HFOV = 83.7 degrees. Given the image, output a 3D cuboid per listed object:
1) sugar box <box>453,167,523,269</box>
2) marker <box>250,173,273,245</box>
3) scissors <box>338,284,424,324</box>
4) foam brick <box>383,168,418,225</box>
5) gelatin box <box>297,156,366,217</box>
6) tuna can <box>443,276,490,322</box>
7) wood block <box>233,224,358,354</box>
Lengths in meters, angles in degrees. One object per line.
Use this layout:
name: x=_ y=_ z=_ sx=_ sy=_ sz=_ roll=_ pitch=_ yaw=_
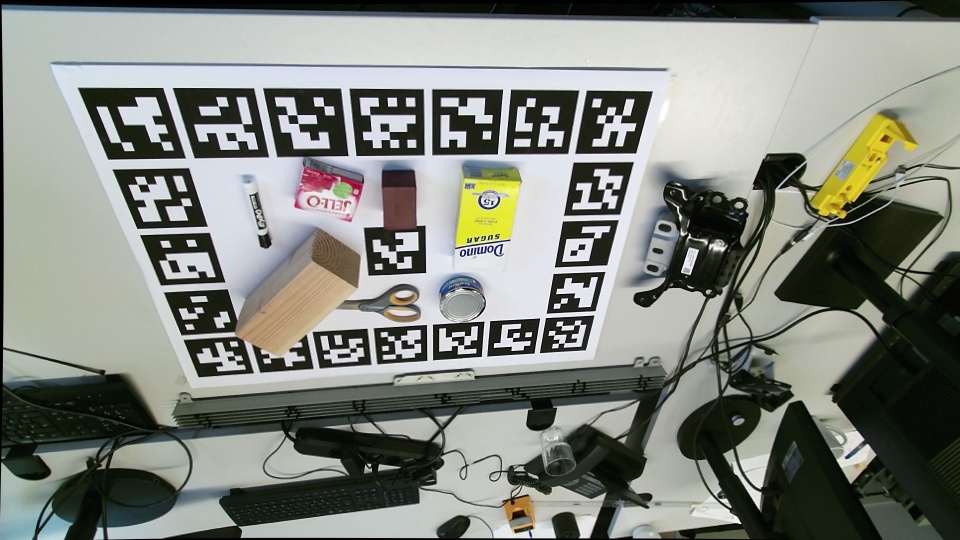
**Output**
sugar box: x=0.010 y=-0.084 z=0.899 sx=0.093 sy=0.045 sz=0.176 roll=2 pitch=125 yaw=-11
marker: x=-0.341 y=-0.092 z=0.839 sx=0.020 sy=0.019 sz=0.121 roll=-1 pitch=123 yaw=-10
scissors: x=-0.200 y=0.061 z=0.981 sx=0.204 sy=0.016 sz=0.088 roll=3 pitch=125 yaw=-15
foam brick: x=-0.125 y=-0.116 z=0.840 sx=0.053 sy=0.051 sz=0.078 roll=-1 pitch=125 yaw=-11
gelatin box: x=-0.230 y=-0.127 z=0.830 sx=0.090 sy=0.030 sz=0.073 roll=14 pitch=121 yaw=-20
tuna can: x=-0.026 y=0.054 z=0.994 sx=0.086 sy=0.033 sz=0.086 roll=-5 pitch=125 yaw=-7
wood block: x=-0.307 y=0.034 z=0.898 sx=0.206 sy=0.090 sz=0.090 roll=-40 pitch=124 yaw=18
